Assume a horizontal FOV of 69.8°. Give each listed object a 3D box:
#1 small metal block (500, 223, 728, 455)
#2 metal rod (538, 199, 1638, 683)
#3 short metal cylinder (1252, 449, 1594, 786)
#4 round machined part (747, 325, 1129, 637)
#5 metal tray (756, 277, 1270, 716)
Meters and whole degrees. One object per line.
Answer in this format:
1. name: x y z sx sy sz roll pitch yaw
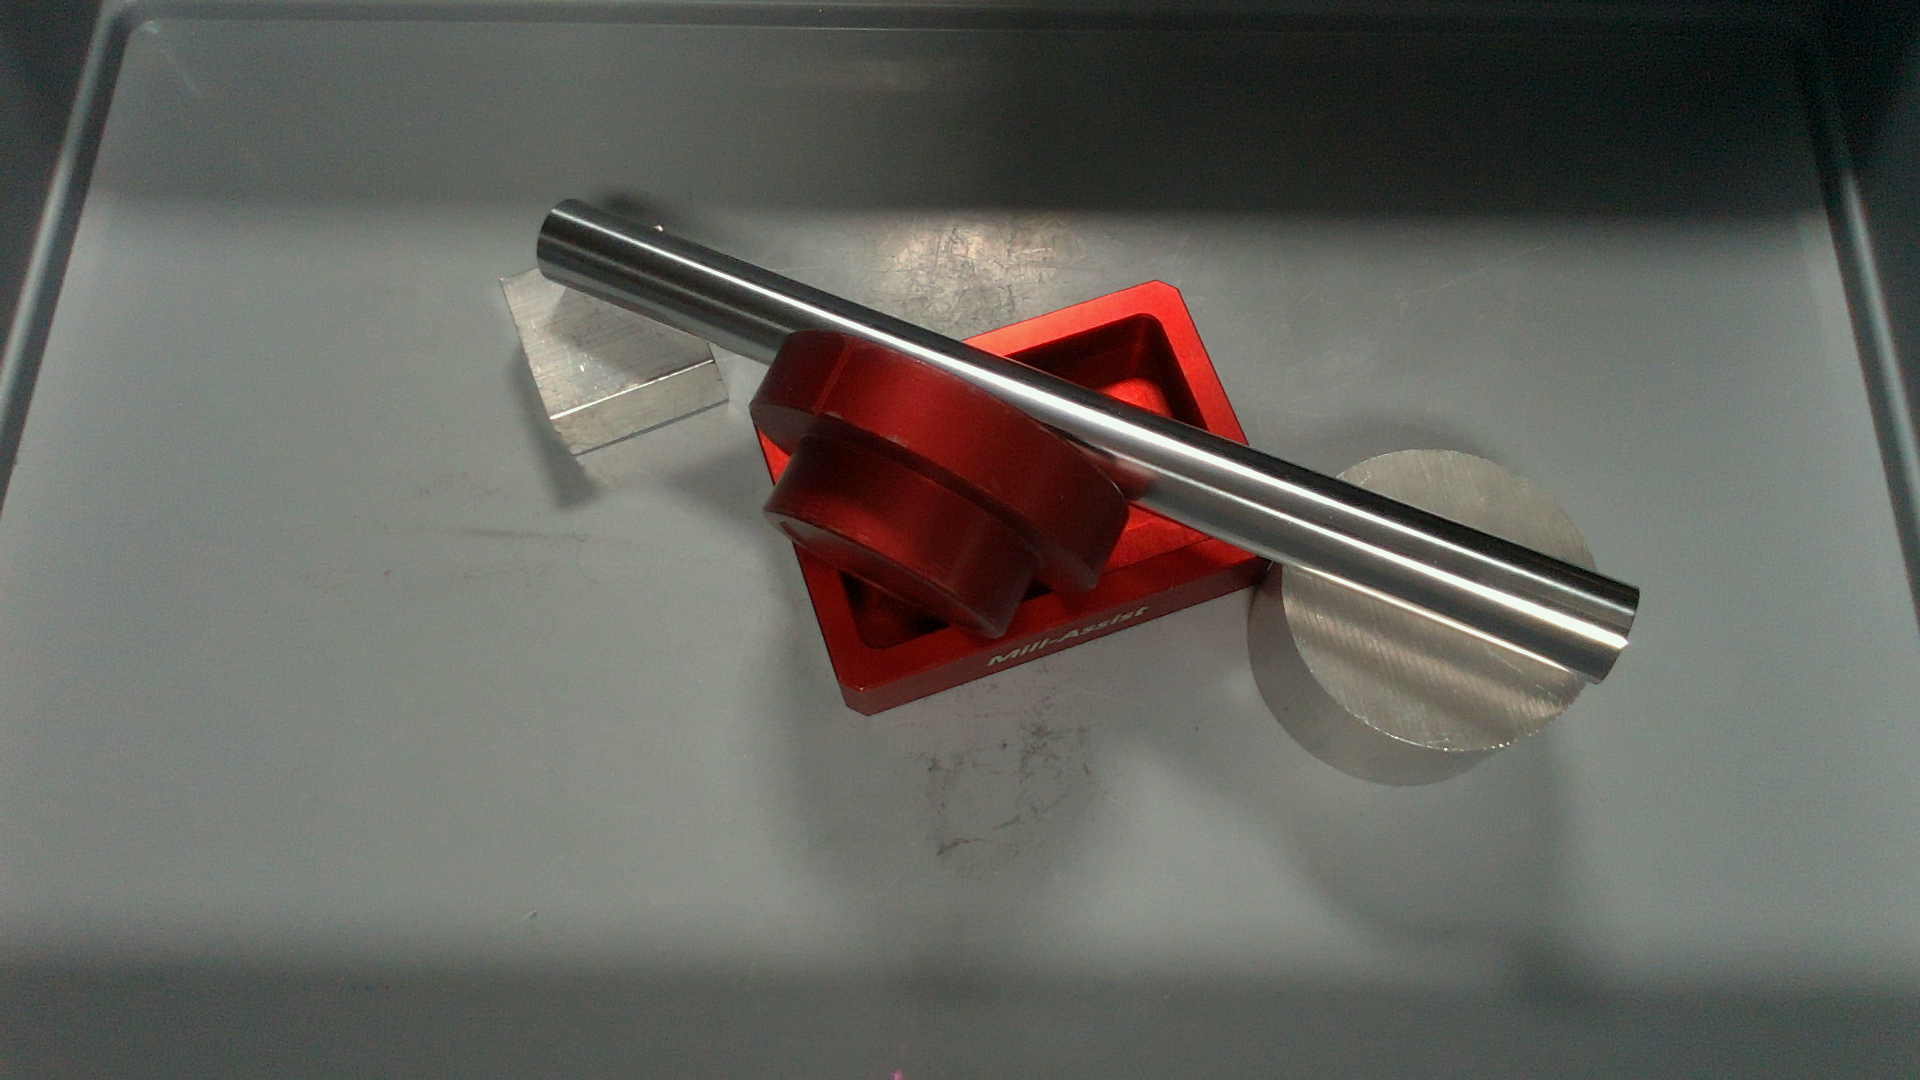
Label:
1. small metal block: -0.104 -0.061 0.415 0.050 0.025 0.050 -21 71 -7
2. metal rod: 0.020 -0.032 0.362 0.299 0.025 0.025 22 71 14
3. short metal cylinder: 0.123 0.022 0.372 0.080 0.050 0.080 0 70 0
4. round machined part: -0.011 -0.009 0.344 0.098 0.098 0.042 26 80 9
5. metal tray: 0.016 -0.014 0.395 0.130 0.030 0.090 -18 71 -7
